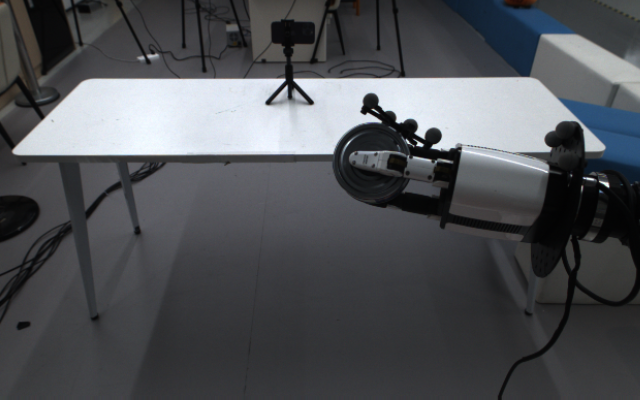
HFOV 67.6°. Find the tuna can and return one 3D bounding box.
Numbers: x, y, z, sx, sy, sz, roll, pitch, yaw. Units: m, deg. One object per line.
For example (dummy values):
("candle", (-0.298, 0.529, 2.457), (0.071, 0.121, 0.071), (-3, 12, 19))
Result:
("tuna can", (0.062, -0.034, 0.527), (0.085, 0.085, 0.034), (12, -4, 15))
